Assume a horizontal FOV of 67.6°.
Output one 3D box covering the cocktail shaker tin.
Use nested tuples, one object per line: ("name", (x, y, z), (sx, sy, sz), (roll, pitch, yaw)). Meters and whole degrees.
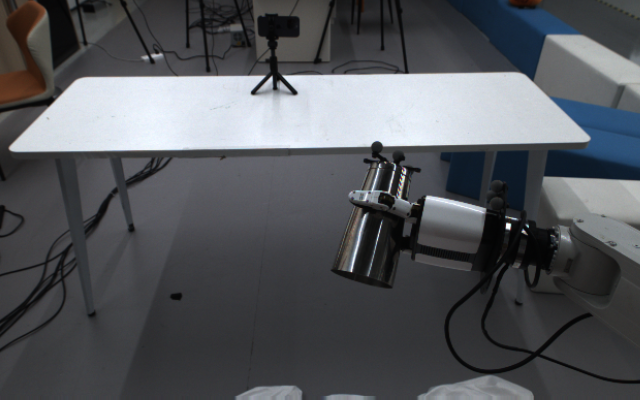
("cocktail shaker tin", (0.083, 0.033, 0.706), (0.093, 0.093, 0.170), (13, 75, 15))
